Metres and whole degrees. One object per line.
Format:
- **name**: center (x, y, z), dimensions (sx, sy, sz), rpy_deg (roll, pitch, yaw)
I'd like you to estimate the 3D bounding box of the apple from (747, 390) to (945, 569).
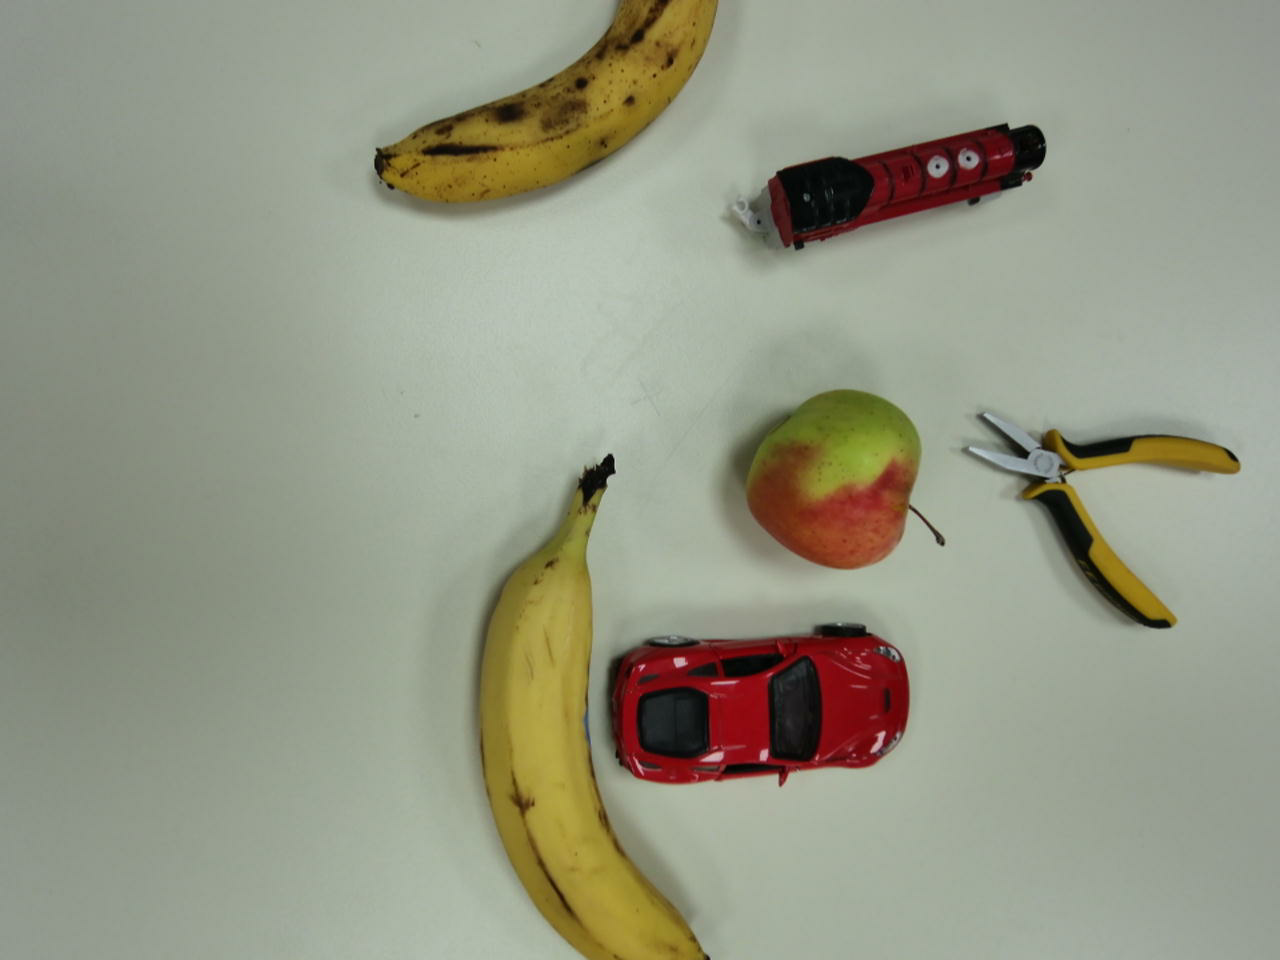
- **apple**: center (0.083, 0.000, 0.420), dimensions (0.075, 0.074, 0.075), rpy_deg (-10, 92, -12)
